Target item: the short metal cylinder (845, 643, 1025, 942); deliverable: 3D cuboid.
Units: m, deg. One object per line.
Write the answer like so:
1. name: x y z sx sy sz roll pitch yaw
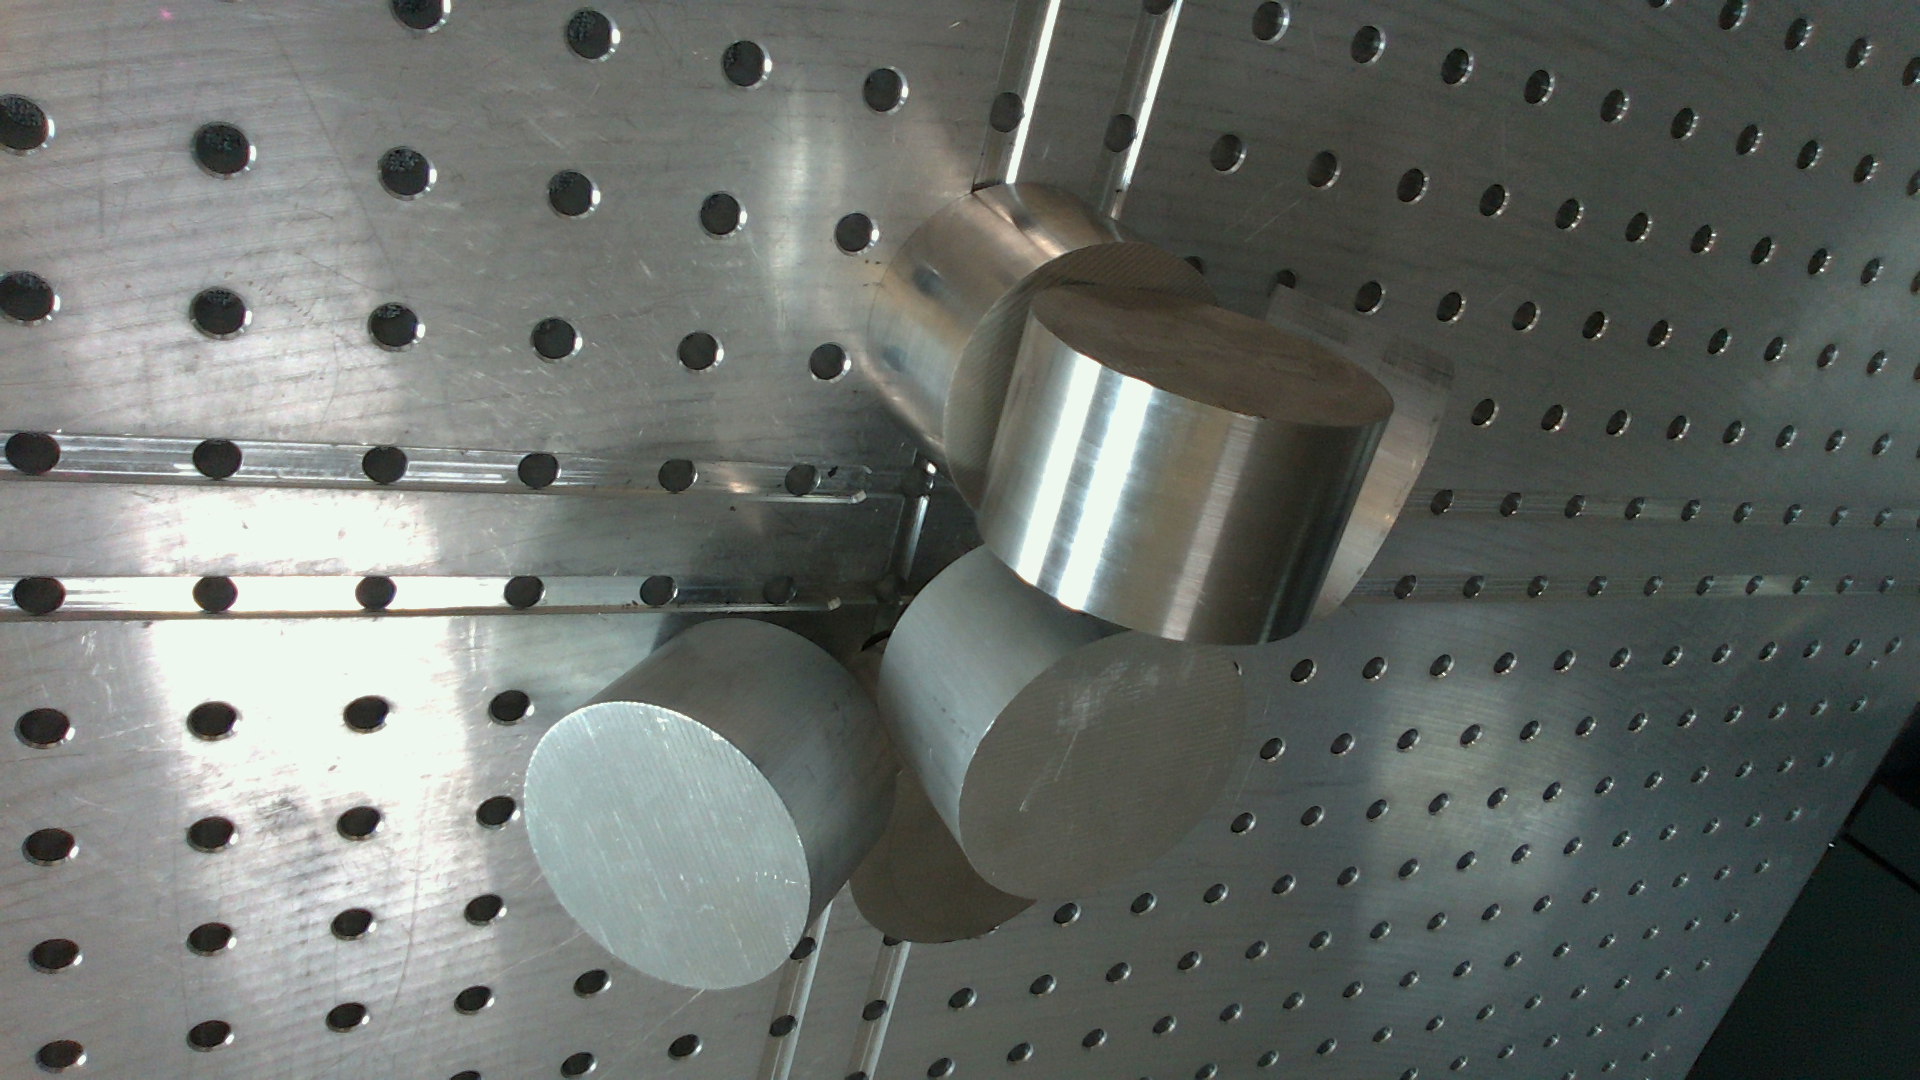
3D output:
1. short metal cylinder: -0.006 0.074 0.418 0.080 0.050 0.080 -14 125 -21

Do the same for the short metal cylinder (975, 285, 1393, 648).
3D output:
1. short metal cylinder: 0.048 -0.019 0.305 0.080 0.080 0.050 0 118 -28

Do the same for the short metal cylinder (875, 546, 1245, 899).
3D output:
1. short metal cylinder: 0.025 0.044 0.351 0.080 0.050 0.080 -14 124 -21

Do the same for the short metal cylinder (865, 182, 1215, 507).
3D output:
1. short metal cylinder: 0.022 -0.047 0.359 0.080 0.050 0.080 -14 125 -21

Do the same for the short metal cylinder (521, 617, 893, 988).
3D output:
1. short metal cylinder: -0.064 0.067 0.356 0.050 0.080 0.080 -45 151 -60

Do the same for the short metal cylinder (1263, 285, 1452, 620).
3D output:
1. short metal cylinder: 0.094 -0.024 0.384 0.050 0.080 0.080 26 109 5
